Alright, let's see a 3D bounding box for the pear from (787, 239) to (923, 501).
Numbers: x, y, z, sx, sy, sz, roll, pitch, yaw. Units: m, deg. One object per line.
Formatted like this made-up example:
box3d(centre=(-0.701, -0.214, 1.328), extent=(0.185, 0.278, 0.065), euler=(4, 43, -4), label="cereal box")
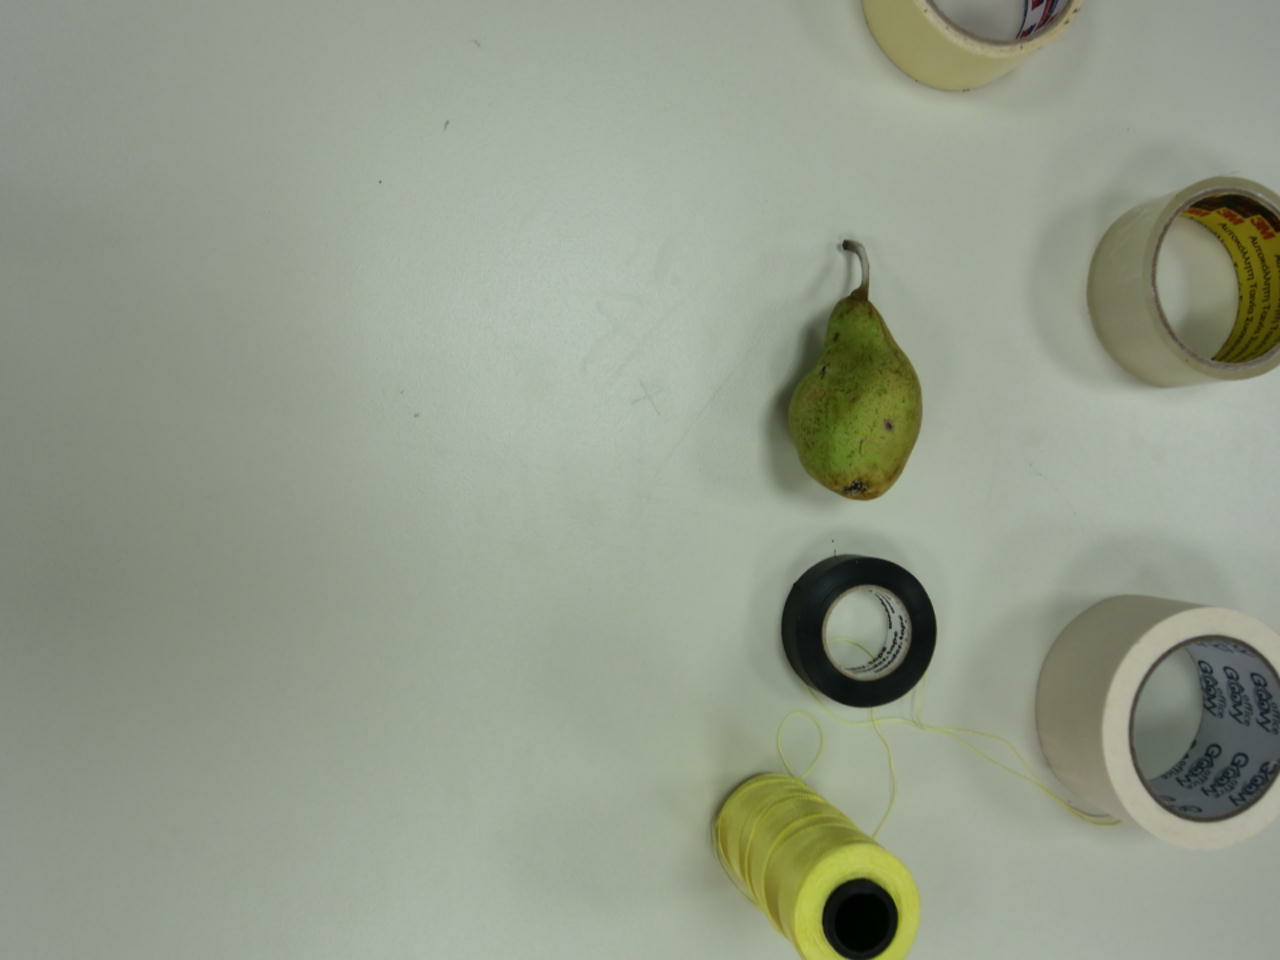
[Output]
box3d(centre=(0.100, -0.046, 0.425), extent=(0.056, 0.056, 0.111), euler=(25, 85, -10), label="pear")
